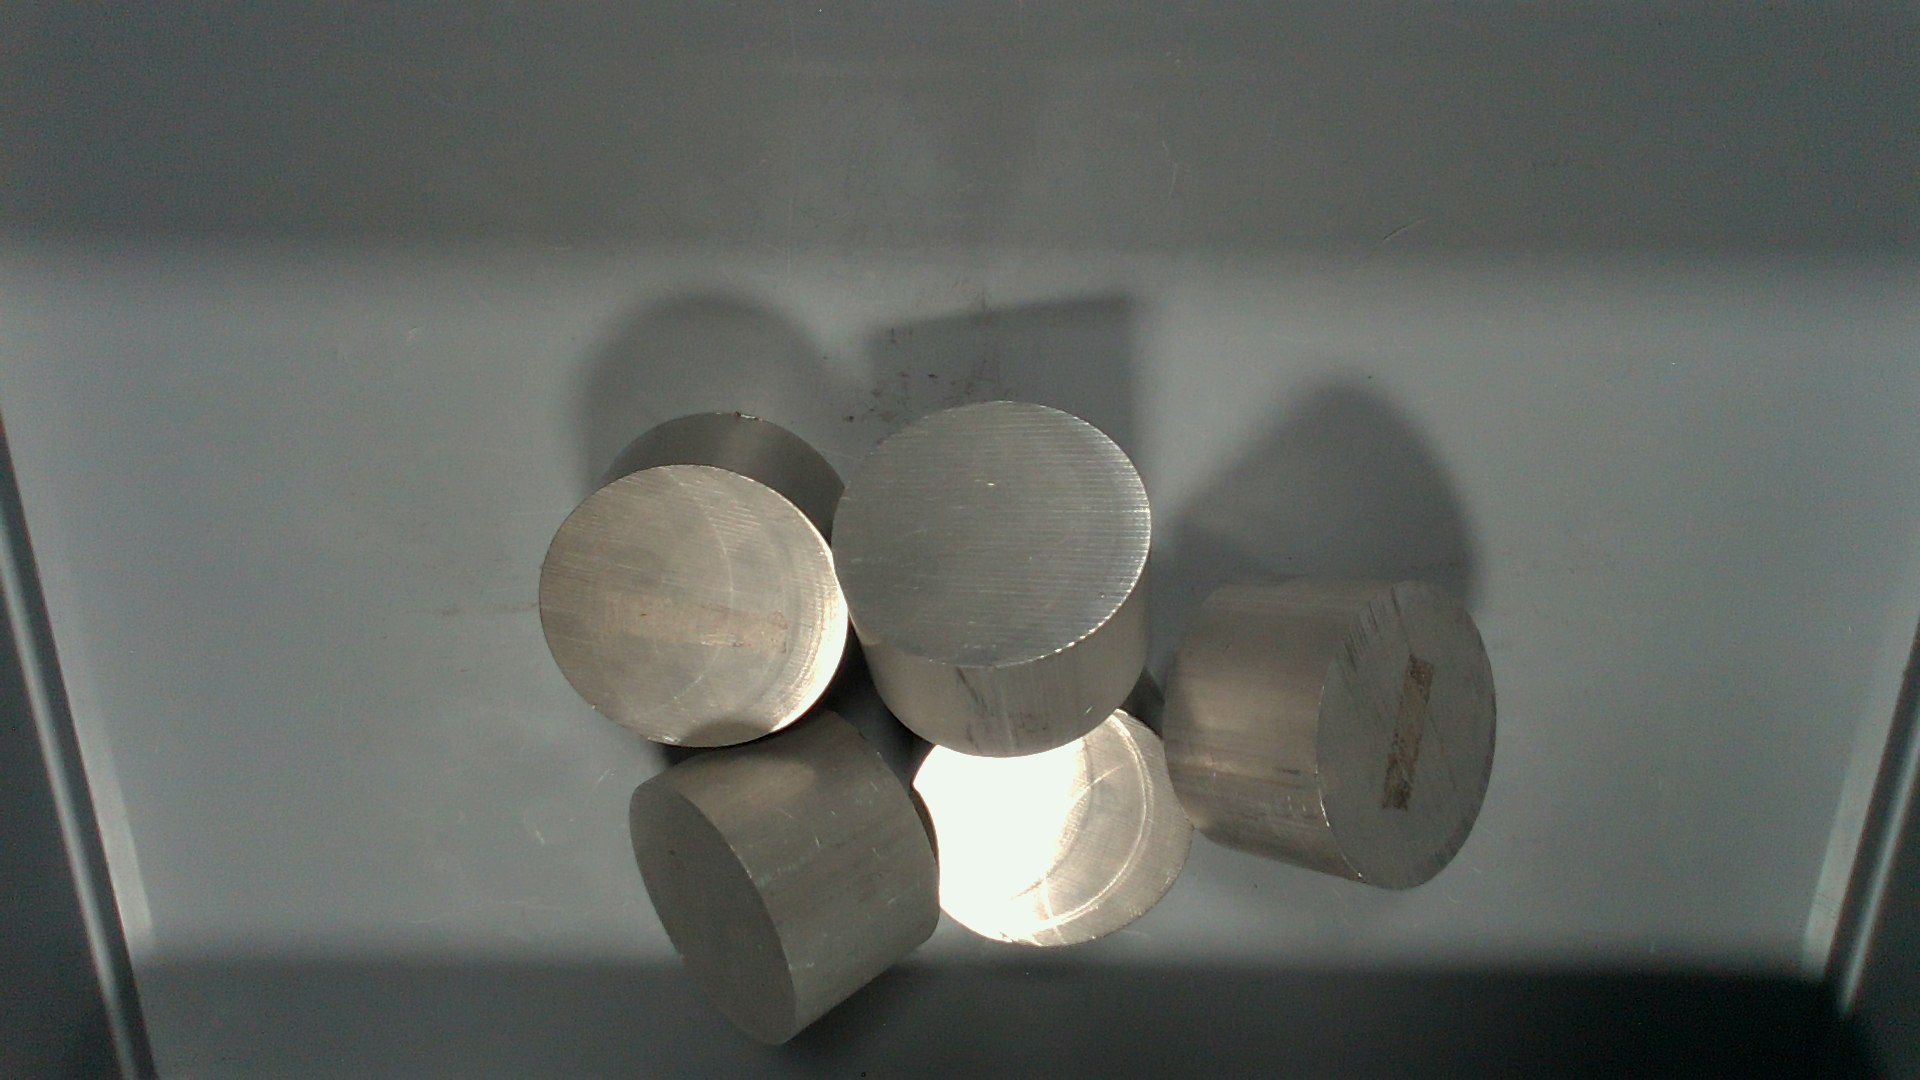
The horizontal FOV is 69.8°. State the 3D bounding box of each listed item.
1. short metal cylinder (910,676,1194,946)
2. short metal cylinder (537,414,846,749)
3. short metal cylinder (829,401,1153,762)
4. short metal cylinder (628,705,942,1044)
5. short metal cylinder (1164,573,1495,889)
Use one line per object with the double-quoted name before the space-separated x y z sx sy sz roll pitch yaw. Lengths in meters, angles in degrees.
"short metal cylinder" 0.025 0.071 0.406 0.080 0.050 0.080 0 110 0
"short metal cylinder" -0.070 0.010 0.382 0.080 0.050 0.080 0 110 0
"short metal cylinder" 0.010 0.011 0.359 0.080 0.080 0.050 -8 146 3
"short metal cylinder" -0.050 0.093 0.390 0.050 0.080 0.080 -27 115 -35
"short metal cylinder" 0.102 0.050 0.376 0.080 0.050 0.080 -2 93 -39
